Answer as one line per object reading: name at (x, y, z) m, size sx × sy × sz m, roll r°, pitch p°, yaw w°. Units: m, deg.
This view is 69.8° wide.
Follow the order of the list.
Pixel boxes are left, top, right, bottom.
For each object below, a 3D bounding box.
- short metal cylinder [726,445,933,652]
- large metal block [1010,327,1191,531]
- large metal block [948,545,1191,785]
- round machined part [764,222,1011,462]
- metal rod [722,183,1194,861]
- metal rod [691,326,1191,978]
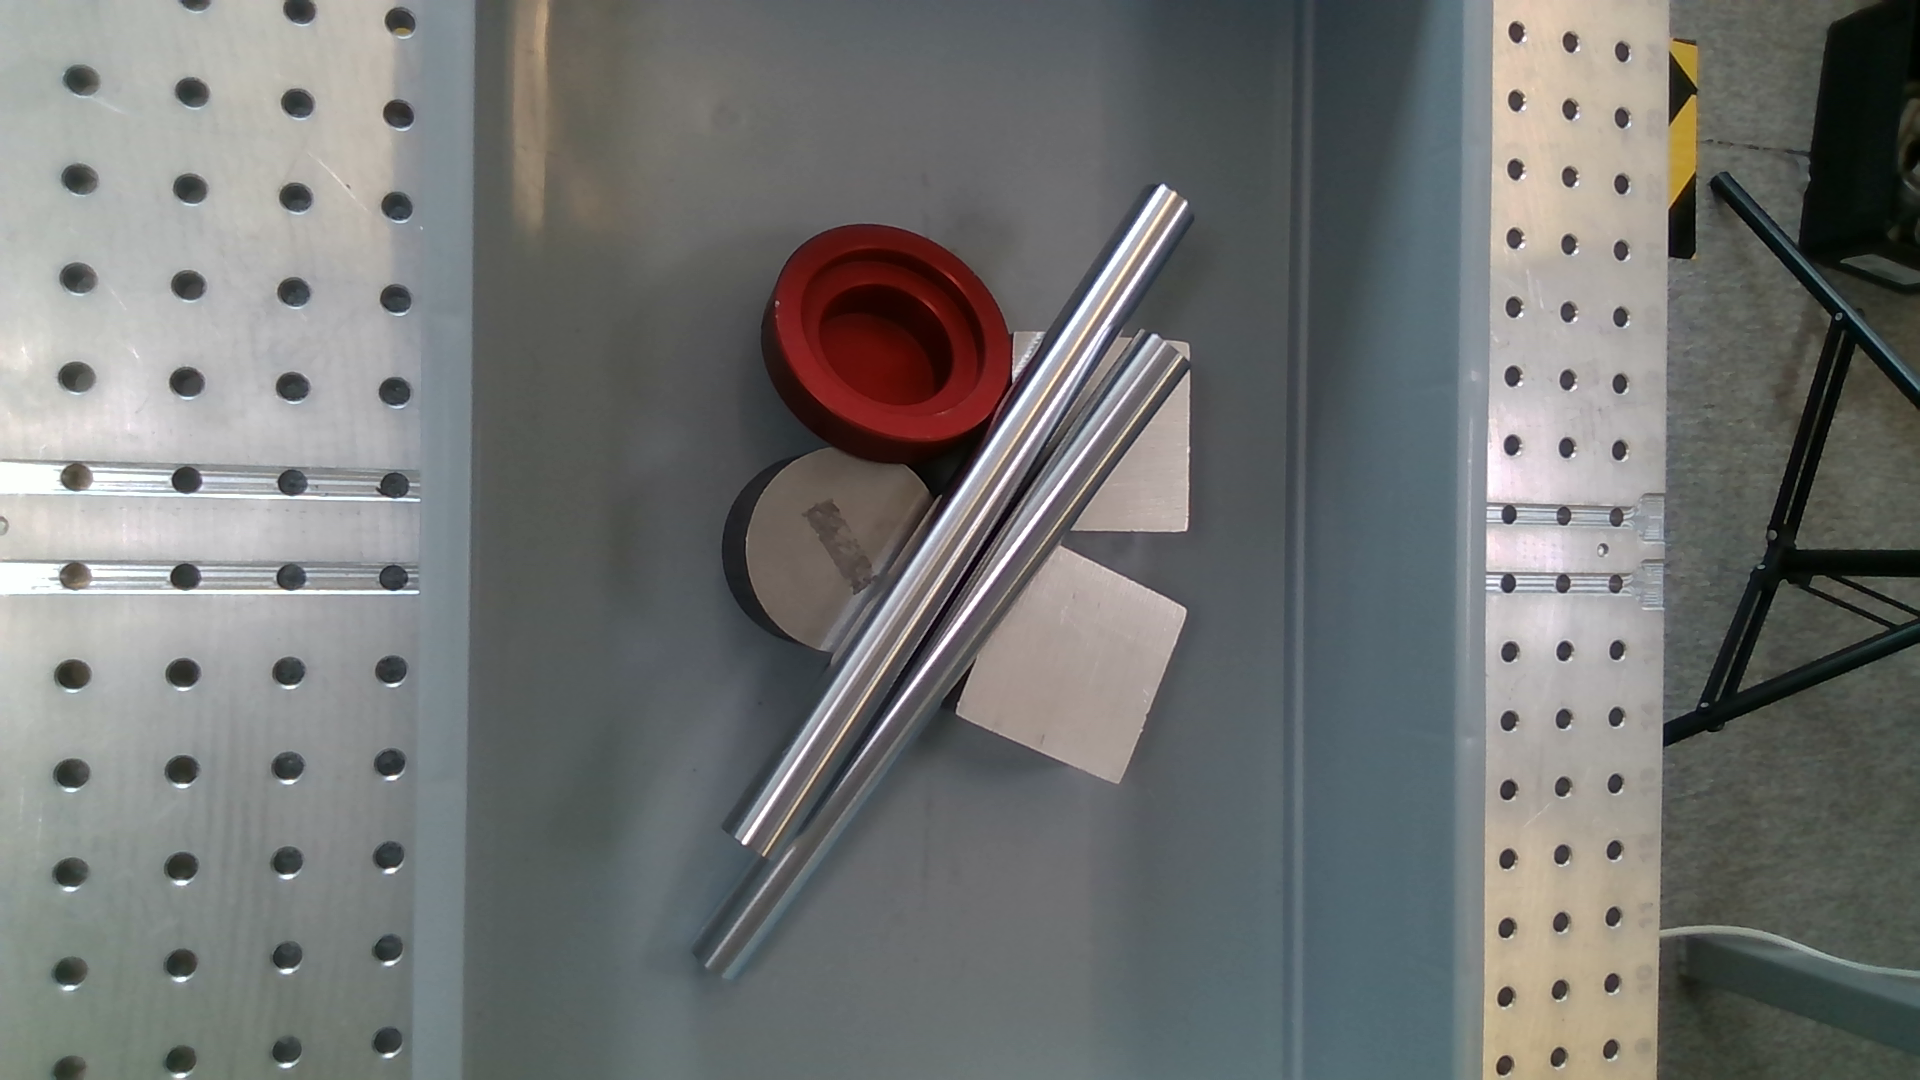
short metal cylinder at (-0.051, 0.003, 0.552) m, size 0.080 × 0.050 × 0.080 m, roll 0°, pitch 90°, yaw -20°
large metal block at (0.050, -0.044, 0.587) m, size 0.080 × 0.050 × 0.080 m, roll 1°, pitch 90°, yaw -20°
large metal block at (0.039, 0.048, 0.585) m, size 0.080 × 0.050 × 0.080 m, roll 26°, pitch 82°, yaw -19°
round machined part at (-0.032, -0.074, 0.552) m, size 0.098 × 0.042 × 0.098 m, roll 10°, pitch 63°, yaw -19°
metal rod at (0.003, -0.013, 0.531) m, size 0.025 × 0.025 × 0.300 m, roll 36°, pitch 79°, yaw -17°
metal rod at (-0.009, 0.045, 0.542) m, size 0.025 × 0.025 × 0.300 m, roll 35°, pitch 93°, yaw -17°
